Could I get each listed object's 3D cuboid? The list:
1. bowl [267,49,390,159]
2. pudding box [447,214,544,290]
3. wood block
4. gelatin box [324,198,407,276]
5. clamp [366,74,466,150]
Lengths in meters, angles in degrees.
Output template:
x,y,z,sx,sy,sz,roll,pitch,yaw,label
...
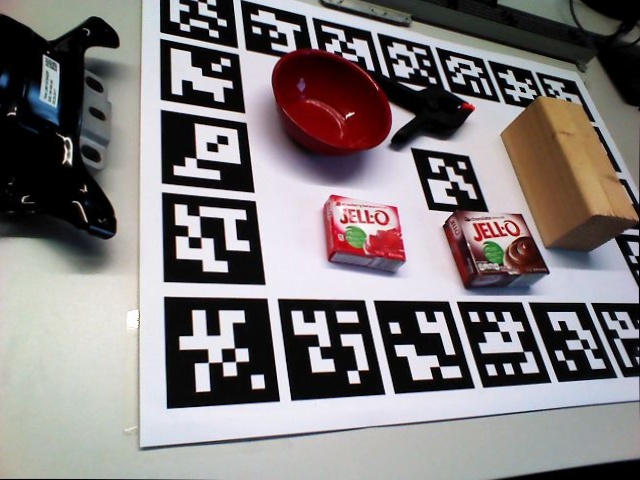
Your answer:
x,y,z,sx,sy,sz,roll,pitch,yaw,label
0.004,-0.157,0.642,0.161,0.055,0.161,11,61,-21,bowl
0.223,0.016,0.647,0.113,0.039,0.089,1,66,-22,pudding box
0.360,-0.091,0.741,0.089,0.091,0.205,6,60,-24,wood block
0.050,-0.003,0.580,0.089,0.030,0.073,10,60,-20,gelatin box
0.140,-0.181,0.734,0.164,0.037,0.121,-7,65,-30,clamp
